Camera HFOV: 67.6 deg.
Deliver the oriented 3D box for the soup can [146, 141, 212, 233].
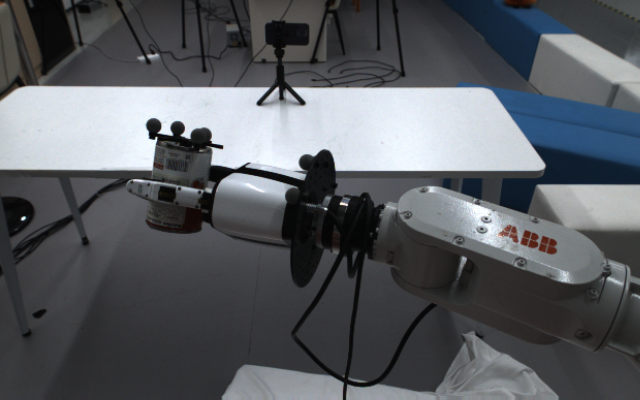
[{"bbox_3d":[-0.169,-0.016,0.587,0.067,0.101,0.067,11,9,-2],"label":"soup can"}]
